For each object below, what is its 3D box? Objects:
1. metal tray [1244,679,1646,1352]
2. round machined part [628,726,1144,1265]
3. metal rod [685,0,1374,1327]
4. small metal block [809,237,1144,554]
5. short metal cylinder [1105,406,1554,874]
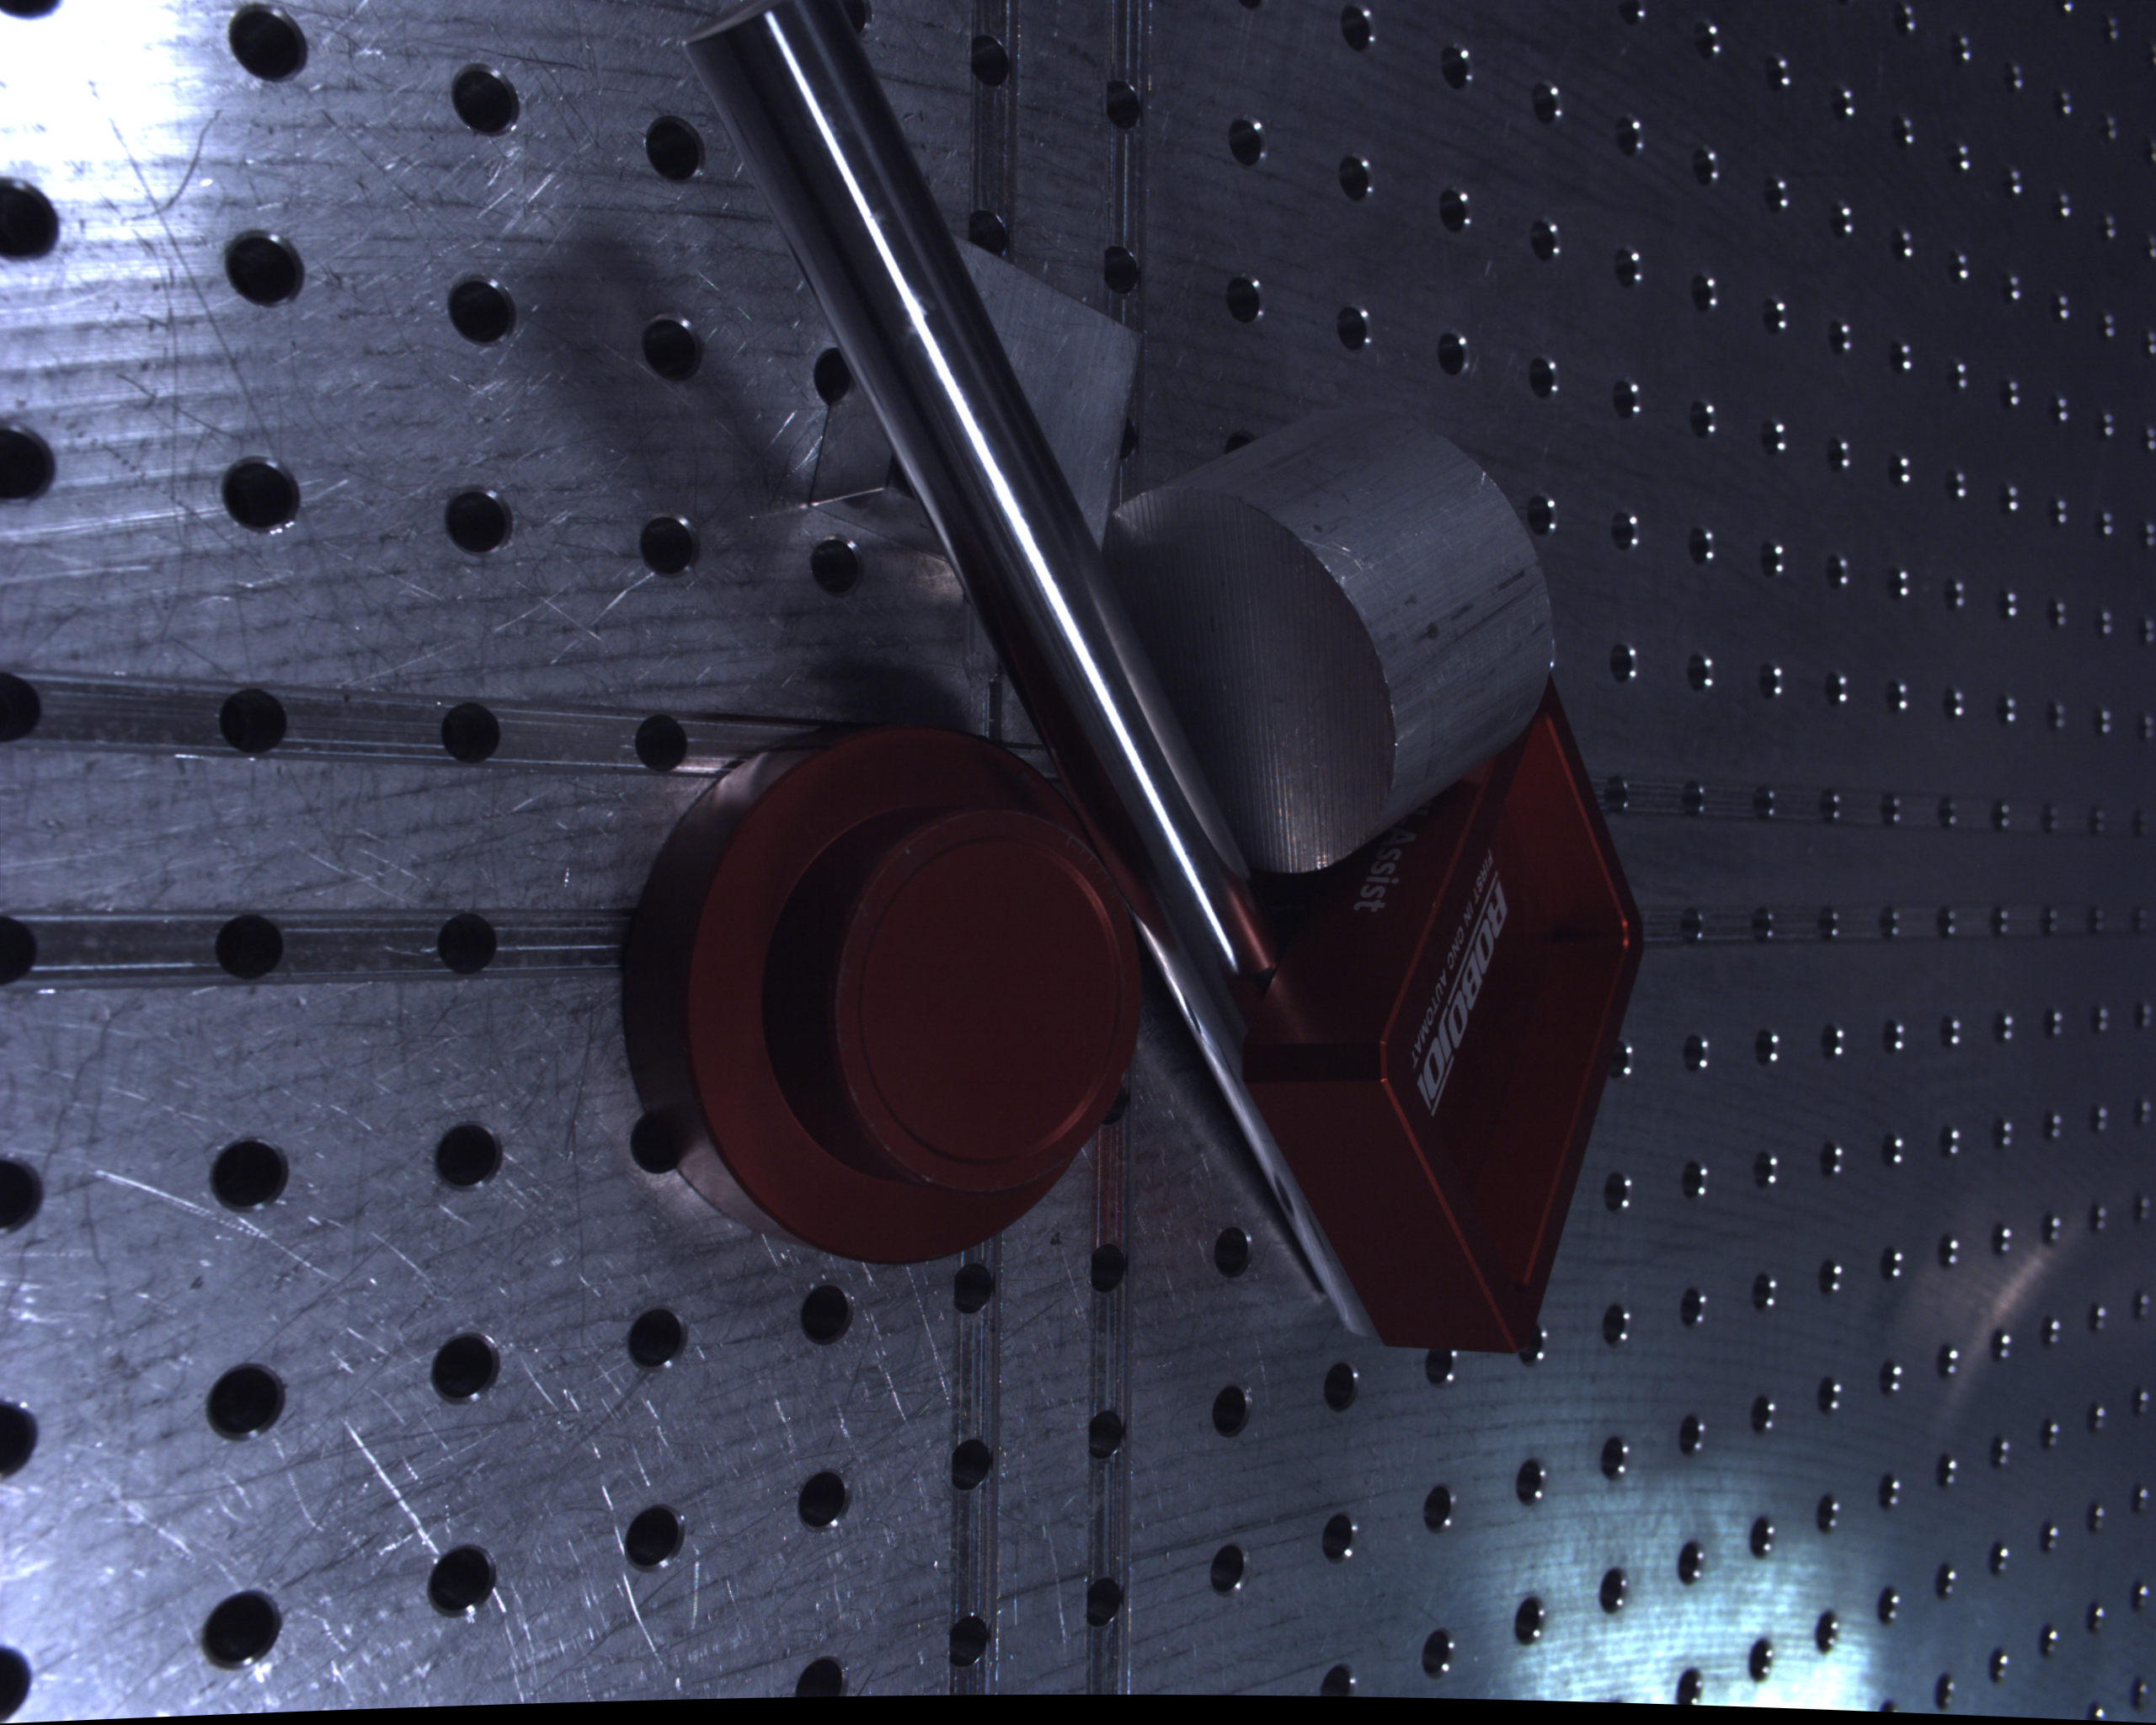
[{"bbox_3d":[0.085,0.028,0.452,0.090,0.030,0.130,61,40,-31],"label":"metal tray"},{"bbox_3d":[-0.027,0.024,0.376,0.099,0.042,0.097,0,90,-40],"label":"round machined part"},{"bbox_3d":[0.010,-0.018,0.398,0.025,0.025,0.299,-47,126,-30],"label":"metal rod"},{"bbox_3d":[-0.018,-0.085,0.396,0.050,0.025,0.050,17,79,-39],"label":"small metal block"},{"bbox_3d":[0.046,-0.044,0.414,0.050,0.080,0.080,-32,110,-36],"label":"short metal cylinder"}]
